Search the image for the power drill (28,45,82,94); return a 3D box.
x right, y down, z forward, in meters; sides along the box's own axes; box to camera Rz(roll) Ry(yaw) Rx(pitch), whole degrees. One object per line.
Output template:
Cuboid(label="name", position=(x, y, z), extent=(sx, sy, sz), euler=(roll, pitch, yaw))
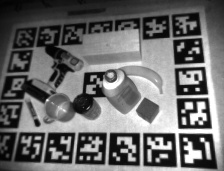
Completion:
Cuboid(label="power drill", position=(-0.233, -0.057, 0.830), extent=(0.183, 0.058, 0.187), euler=(28, 77, 16))

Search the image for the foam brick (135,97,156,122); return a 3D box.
Cuboid(label="foam brick", position=(0.108, 0.076, 0.699), extent=(0.052, 0.079, 0.051), euler=(32, 78, 23))

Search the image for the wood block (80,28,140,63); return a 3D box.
Cuboid(label="wood block", position=(-0.004, -0.147, 0.794), extent=(0.205, 0.092, 0.089), euler=(-3, 71, 11))

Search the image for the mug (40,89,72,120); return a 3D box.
Cuboid(label="mug", position=(-0.197, 0.073, 0.756), extent=(0.117, 0.082, 0.092), euler=(-46, 70, -3))

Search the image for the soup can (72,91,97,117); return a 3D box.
Cuboid(label="soup can", position=(-0.094, 0.060, 0.723), extent=(0.067, 0.103, 0.067), euler=(-4, 66, 9))

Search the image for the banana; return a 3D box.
Cuboid(label="banana", position=(0.076, -0.058, 0.771), extent=(0.196, 0.039, 0.074), euler=(14, 88, 14))

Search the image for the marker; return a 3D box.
Cuboid(label="marker", position=(-0.303, 0.091, 0.808), extent=(0.019, 0.020, 0.120), euler=(-30, 68, 3))

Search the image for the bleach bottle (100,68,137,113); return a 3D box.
Cuboid(label="bleach bottle", position=(0.015, 0.005, 0.648), extent=(0.067, 0.253, 0.103), euler=(28, 77, 21))
